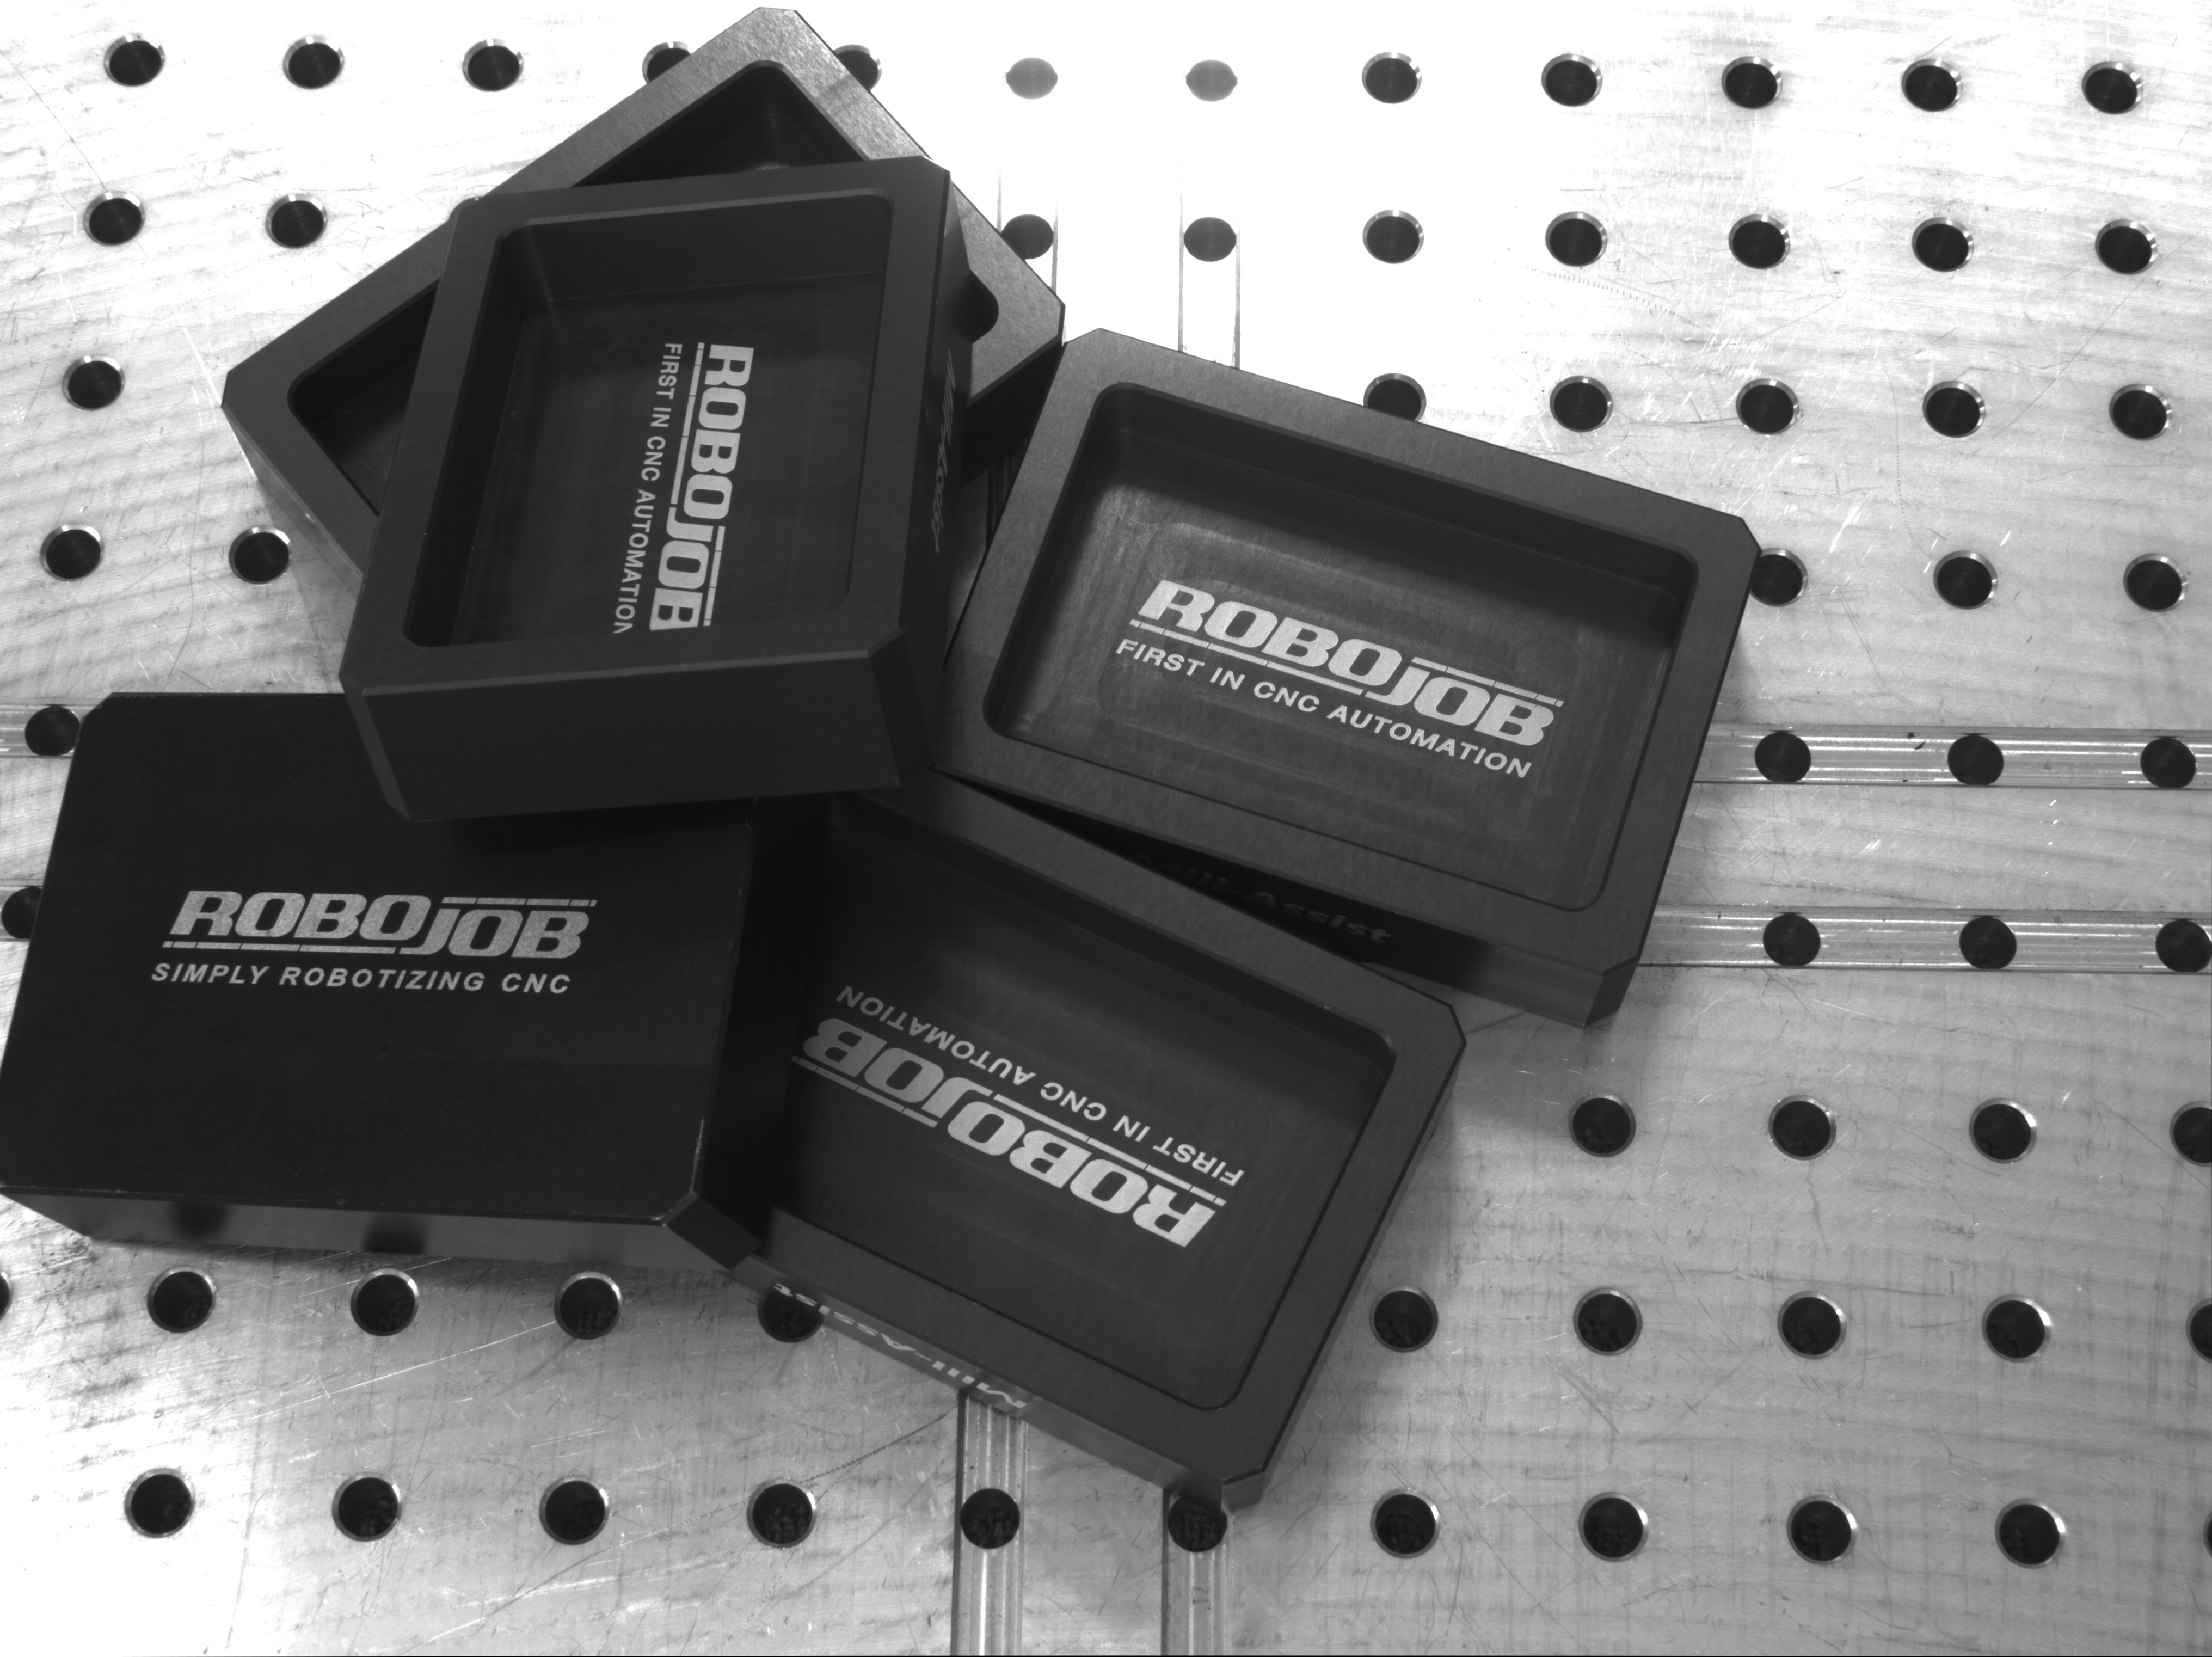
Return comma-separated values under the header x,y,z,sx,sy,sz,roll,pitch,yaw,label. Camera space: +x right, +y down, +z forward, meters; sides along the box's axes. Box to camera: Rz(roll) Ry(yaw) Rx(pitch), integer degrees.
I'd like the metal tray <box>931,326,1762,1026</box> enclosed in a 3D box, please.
x,y,z,sx,sy,sz,roll,pitch,yaw,label
0.041,-0.028,0.654,0.130,0.030,0.090,17,71,6,metal tray

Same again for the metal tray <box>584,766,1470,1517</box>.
x,y,z,sx,sy,sz,roll,pitch,yaw,label
-0.015,0.049,0.626,0.130,0.030,0.090,24,72,9,metal tray

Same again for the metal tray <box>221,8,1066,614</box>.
x,y,z,sx,sy,sz,roll,pitch,yaw,label
-0.083,-0.080,0.674,0.130,0.030,0.090,-38,73,-13,metal tray

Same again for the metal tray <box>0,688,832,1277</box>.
x,y,z,sx,sy,sz,roll,pitch,yaw,label
-0.117,0.024,0.618,0.130,0.030,0.090,2,70,16,metal tray

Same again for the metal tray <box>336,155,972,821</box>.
x,y,z,sx,sy,sz,roll,pitch,yaw,label
-0.072,-0.060,0.622,0.090,0.030,0.130,-4,46,6,metal tray
